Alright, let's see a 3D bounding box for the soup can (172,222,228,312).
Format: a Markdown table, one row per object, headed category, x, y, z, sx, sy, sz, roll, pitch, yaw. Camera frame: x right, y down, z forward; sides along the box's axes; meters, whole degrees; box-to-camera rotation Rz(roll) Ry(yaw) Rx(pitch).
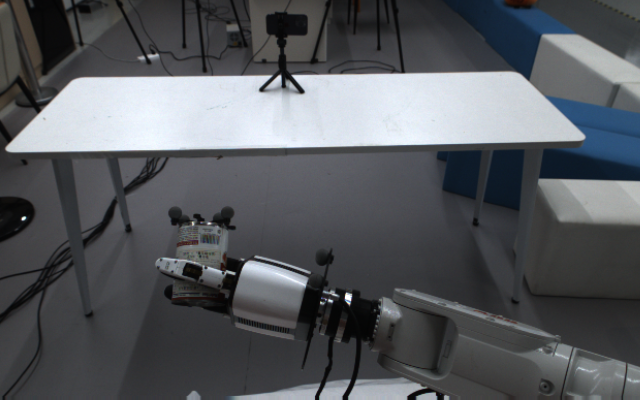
| category | x | y | z | sx | sy | sz | roll | pitch | yaw |
| --- | --- | --- | --- | --- | --- | --- | --- | --- | --- |
| soup can | -0.155 | 0.086 | 0.630 | 0.067 | 0.067 | 0.101 | 1 | 73 | -2 |
